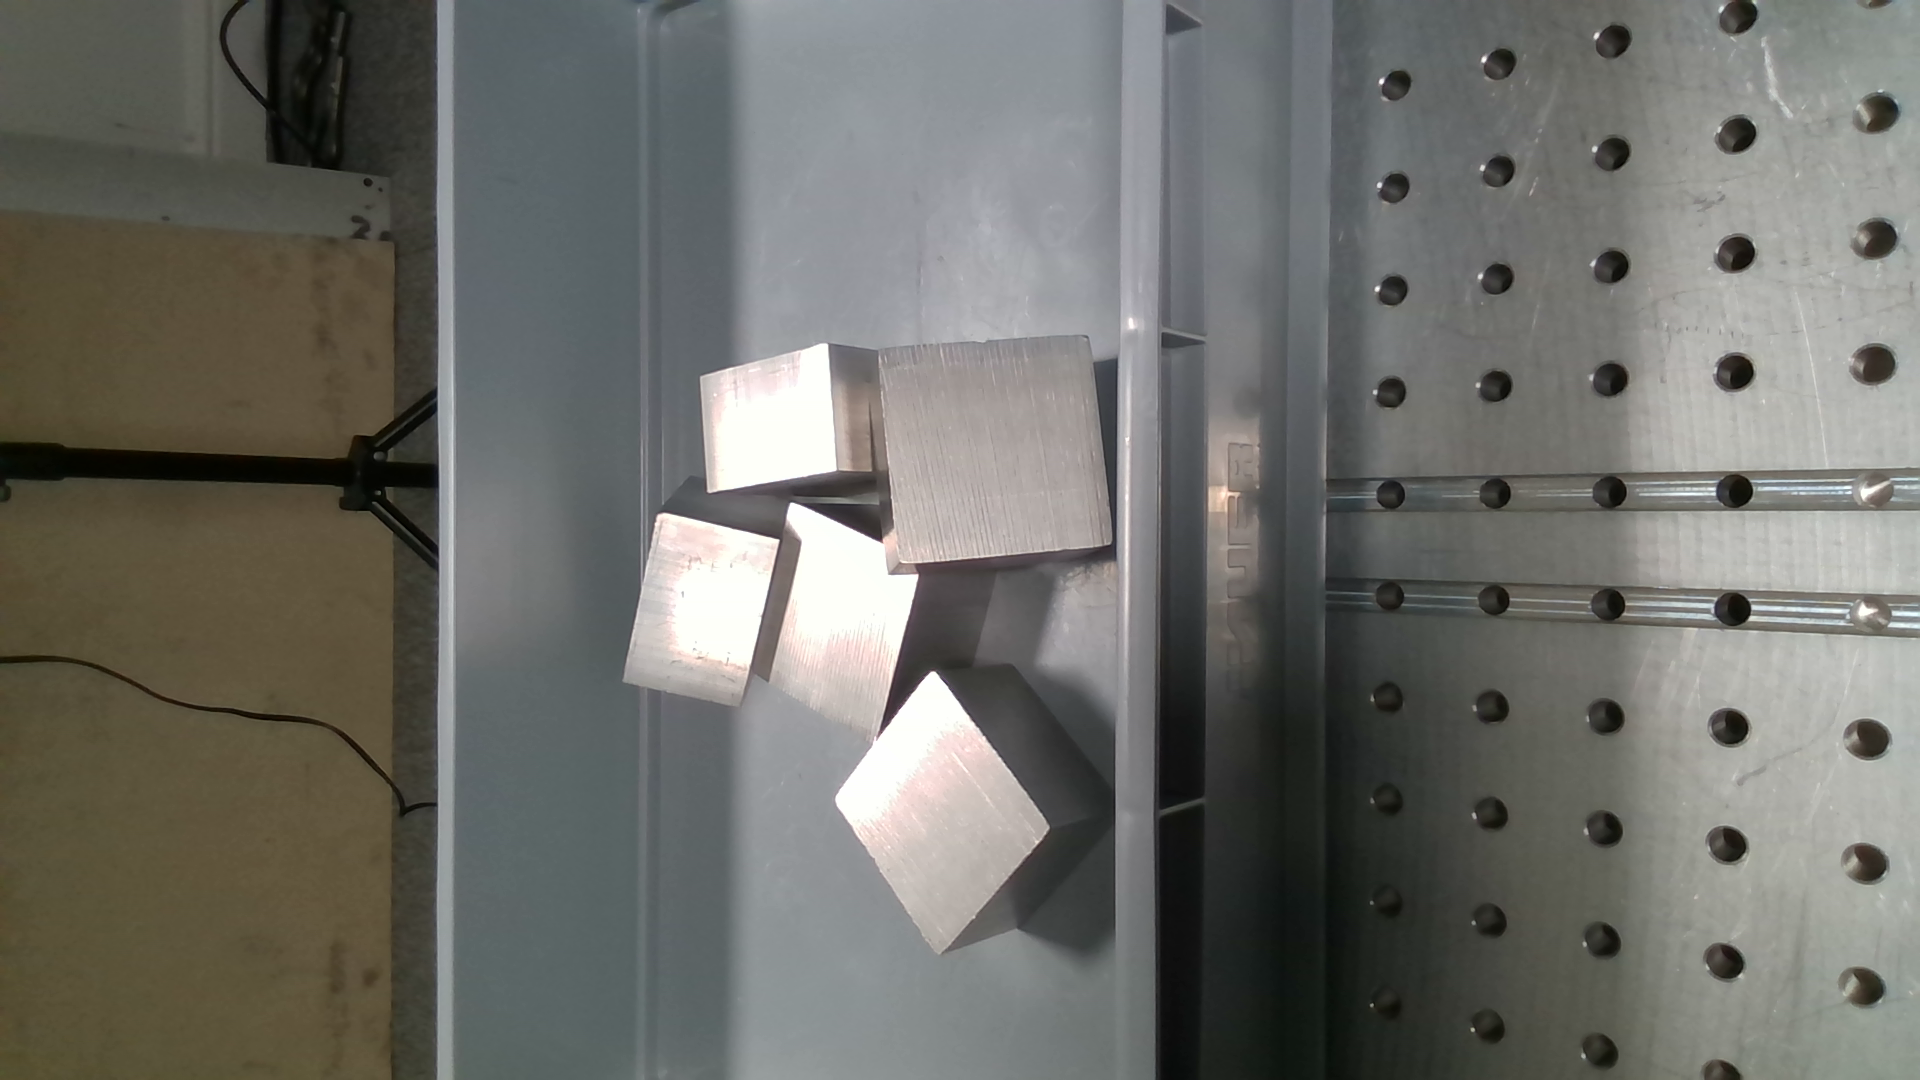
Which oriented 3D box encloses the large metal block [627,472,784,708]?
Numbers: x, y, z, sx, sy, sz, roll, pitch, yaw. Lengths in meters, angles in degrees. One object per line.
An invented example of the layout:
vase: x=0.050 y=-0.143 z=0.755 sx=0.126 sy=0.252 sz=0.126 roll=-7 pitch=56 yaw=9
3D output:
large metal block: x=-0.112 y=0.021 z=0.631 sx=0.050 sy=0.080 sz=0.080 roll=13 pitch=104 yaw=-3

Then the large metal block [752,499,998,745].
large metal block: x=-0.037 y=0.033 z=0.598 sx=0.080 sy=0.050 sz=0.080 roll=24 pitch=106 yaw=37

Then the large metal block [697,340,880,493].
large metal block: x=-0.054 y=-0.049 z=0.590 sx=0.080 sy=0.080 sz=0.050 roll=-7 pitch=86 yaw=40

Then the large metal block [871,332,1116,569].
large metal block: x=0.011 y=-0.032 z=0.528 sx=0.050 sy=0.080 sz=0.080 roll=142 pitch=122 yaw=-80

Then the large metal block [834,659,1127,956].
large metal block: x=0.006 y=0.107 z=0.560 sx=0.080 sy=0.050 sz=0.080 roll=51 pitch=121 yaw=28
